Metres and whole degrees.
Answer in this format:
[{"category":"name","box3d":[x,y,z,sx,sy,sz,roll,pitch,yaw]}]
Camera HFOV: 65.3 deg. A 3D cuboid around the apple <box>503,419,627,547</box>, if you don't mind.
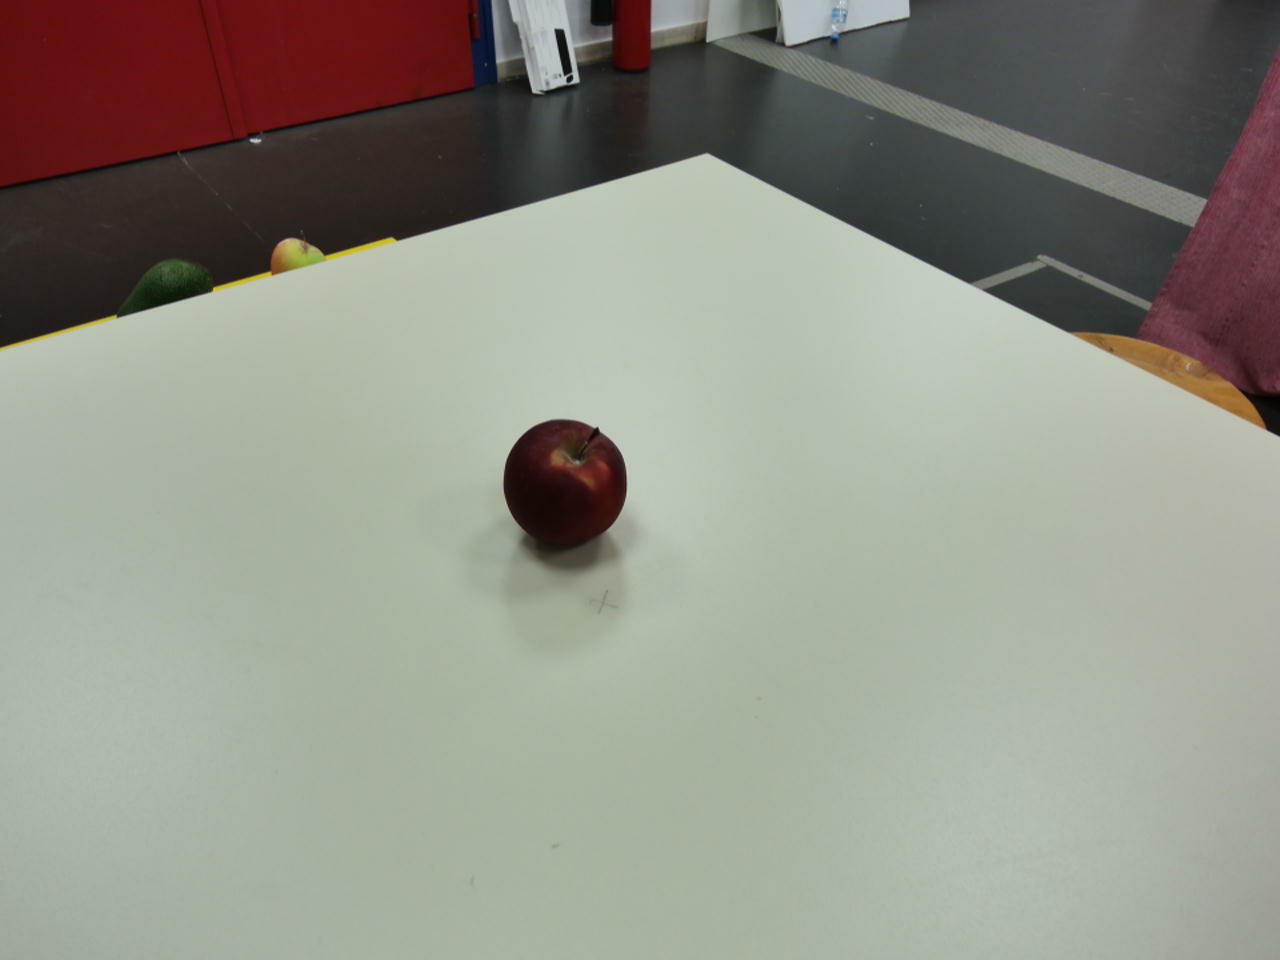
[{"category":"apple","box3d":[-0.042,0.003,0.558,0.070,0.072,0.070,0,38,0]}]
